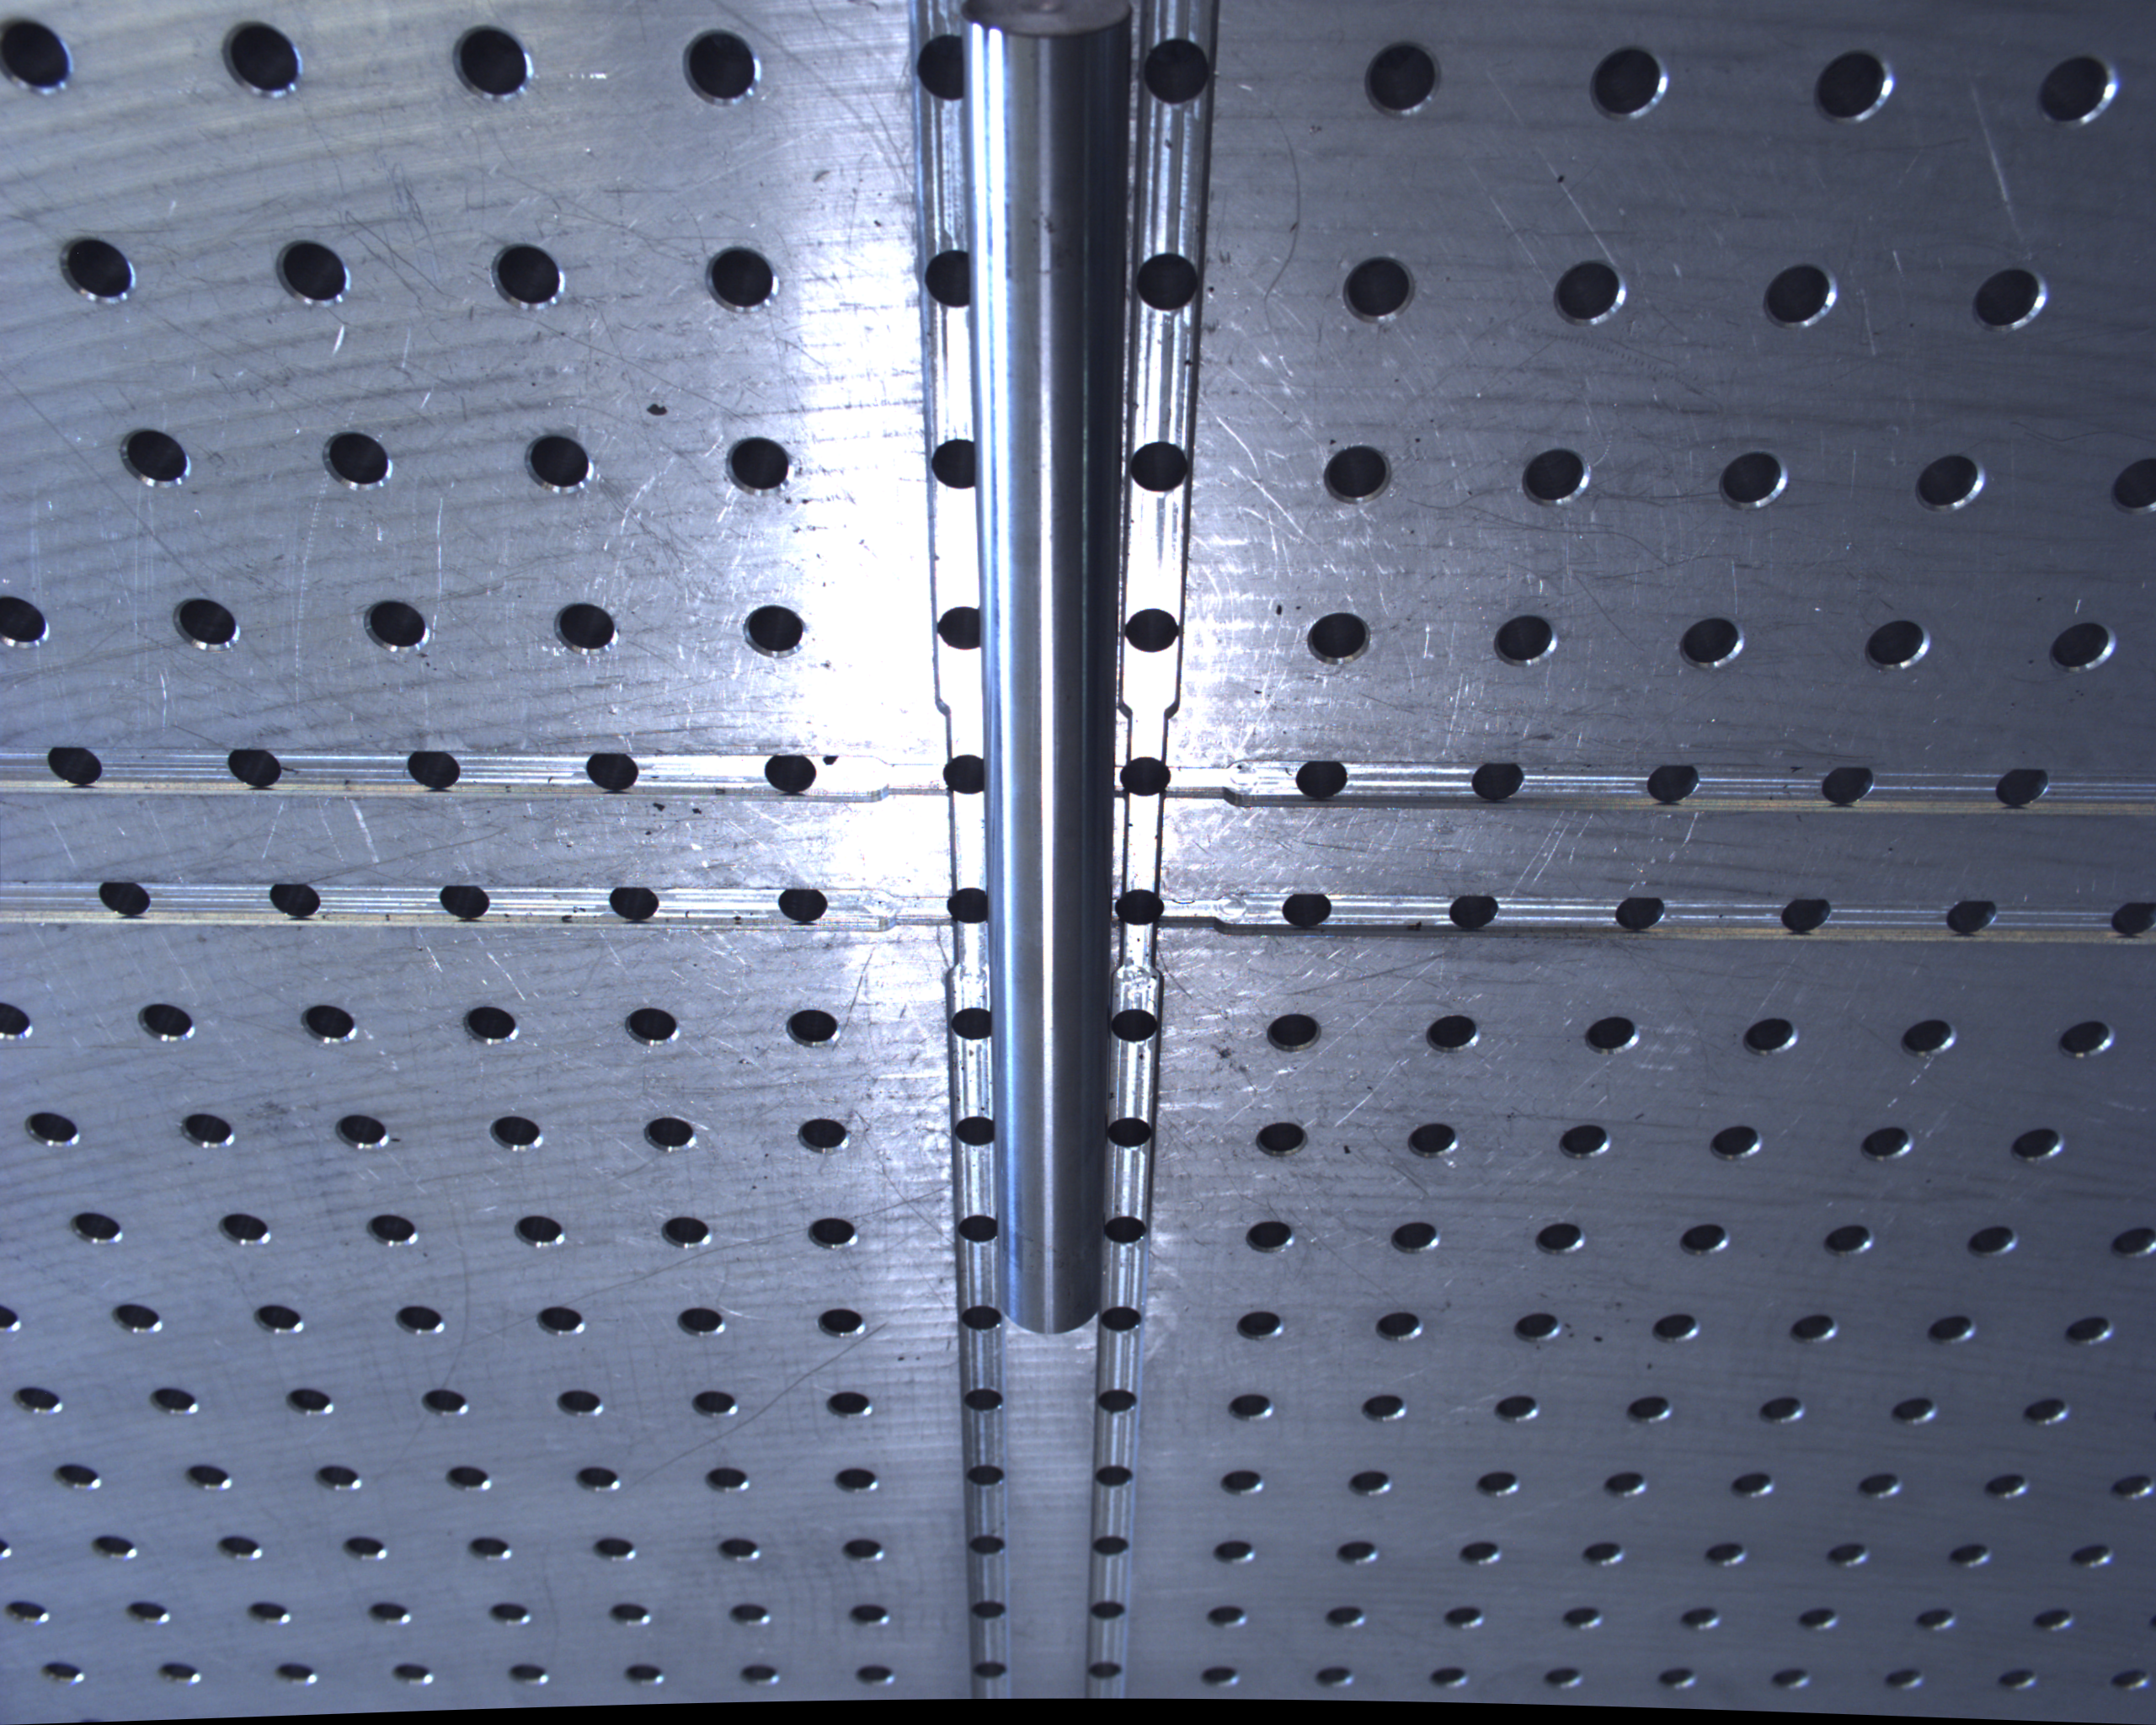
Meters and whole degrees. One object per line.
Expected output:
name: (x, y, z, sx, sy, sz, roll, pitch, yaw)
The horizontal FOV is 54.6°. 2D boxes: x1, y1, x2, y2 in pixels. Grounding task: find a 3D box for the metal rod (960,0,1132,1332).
metal rod: (-0.006, -0.011, 0.402, 0.025, 0.025, 0.298, 0, 130, 0)
